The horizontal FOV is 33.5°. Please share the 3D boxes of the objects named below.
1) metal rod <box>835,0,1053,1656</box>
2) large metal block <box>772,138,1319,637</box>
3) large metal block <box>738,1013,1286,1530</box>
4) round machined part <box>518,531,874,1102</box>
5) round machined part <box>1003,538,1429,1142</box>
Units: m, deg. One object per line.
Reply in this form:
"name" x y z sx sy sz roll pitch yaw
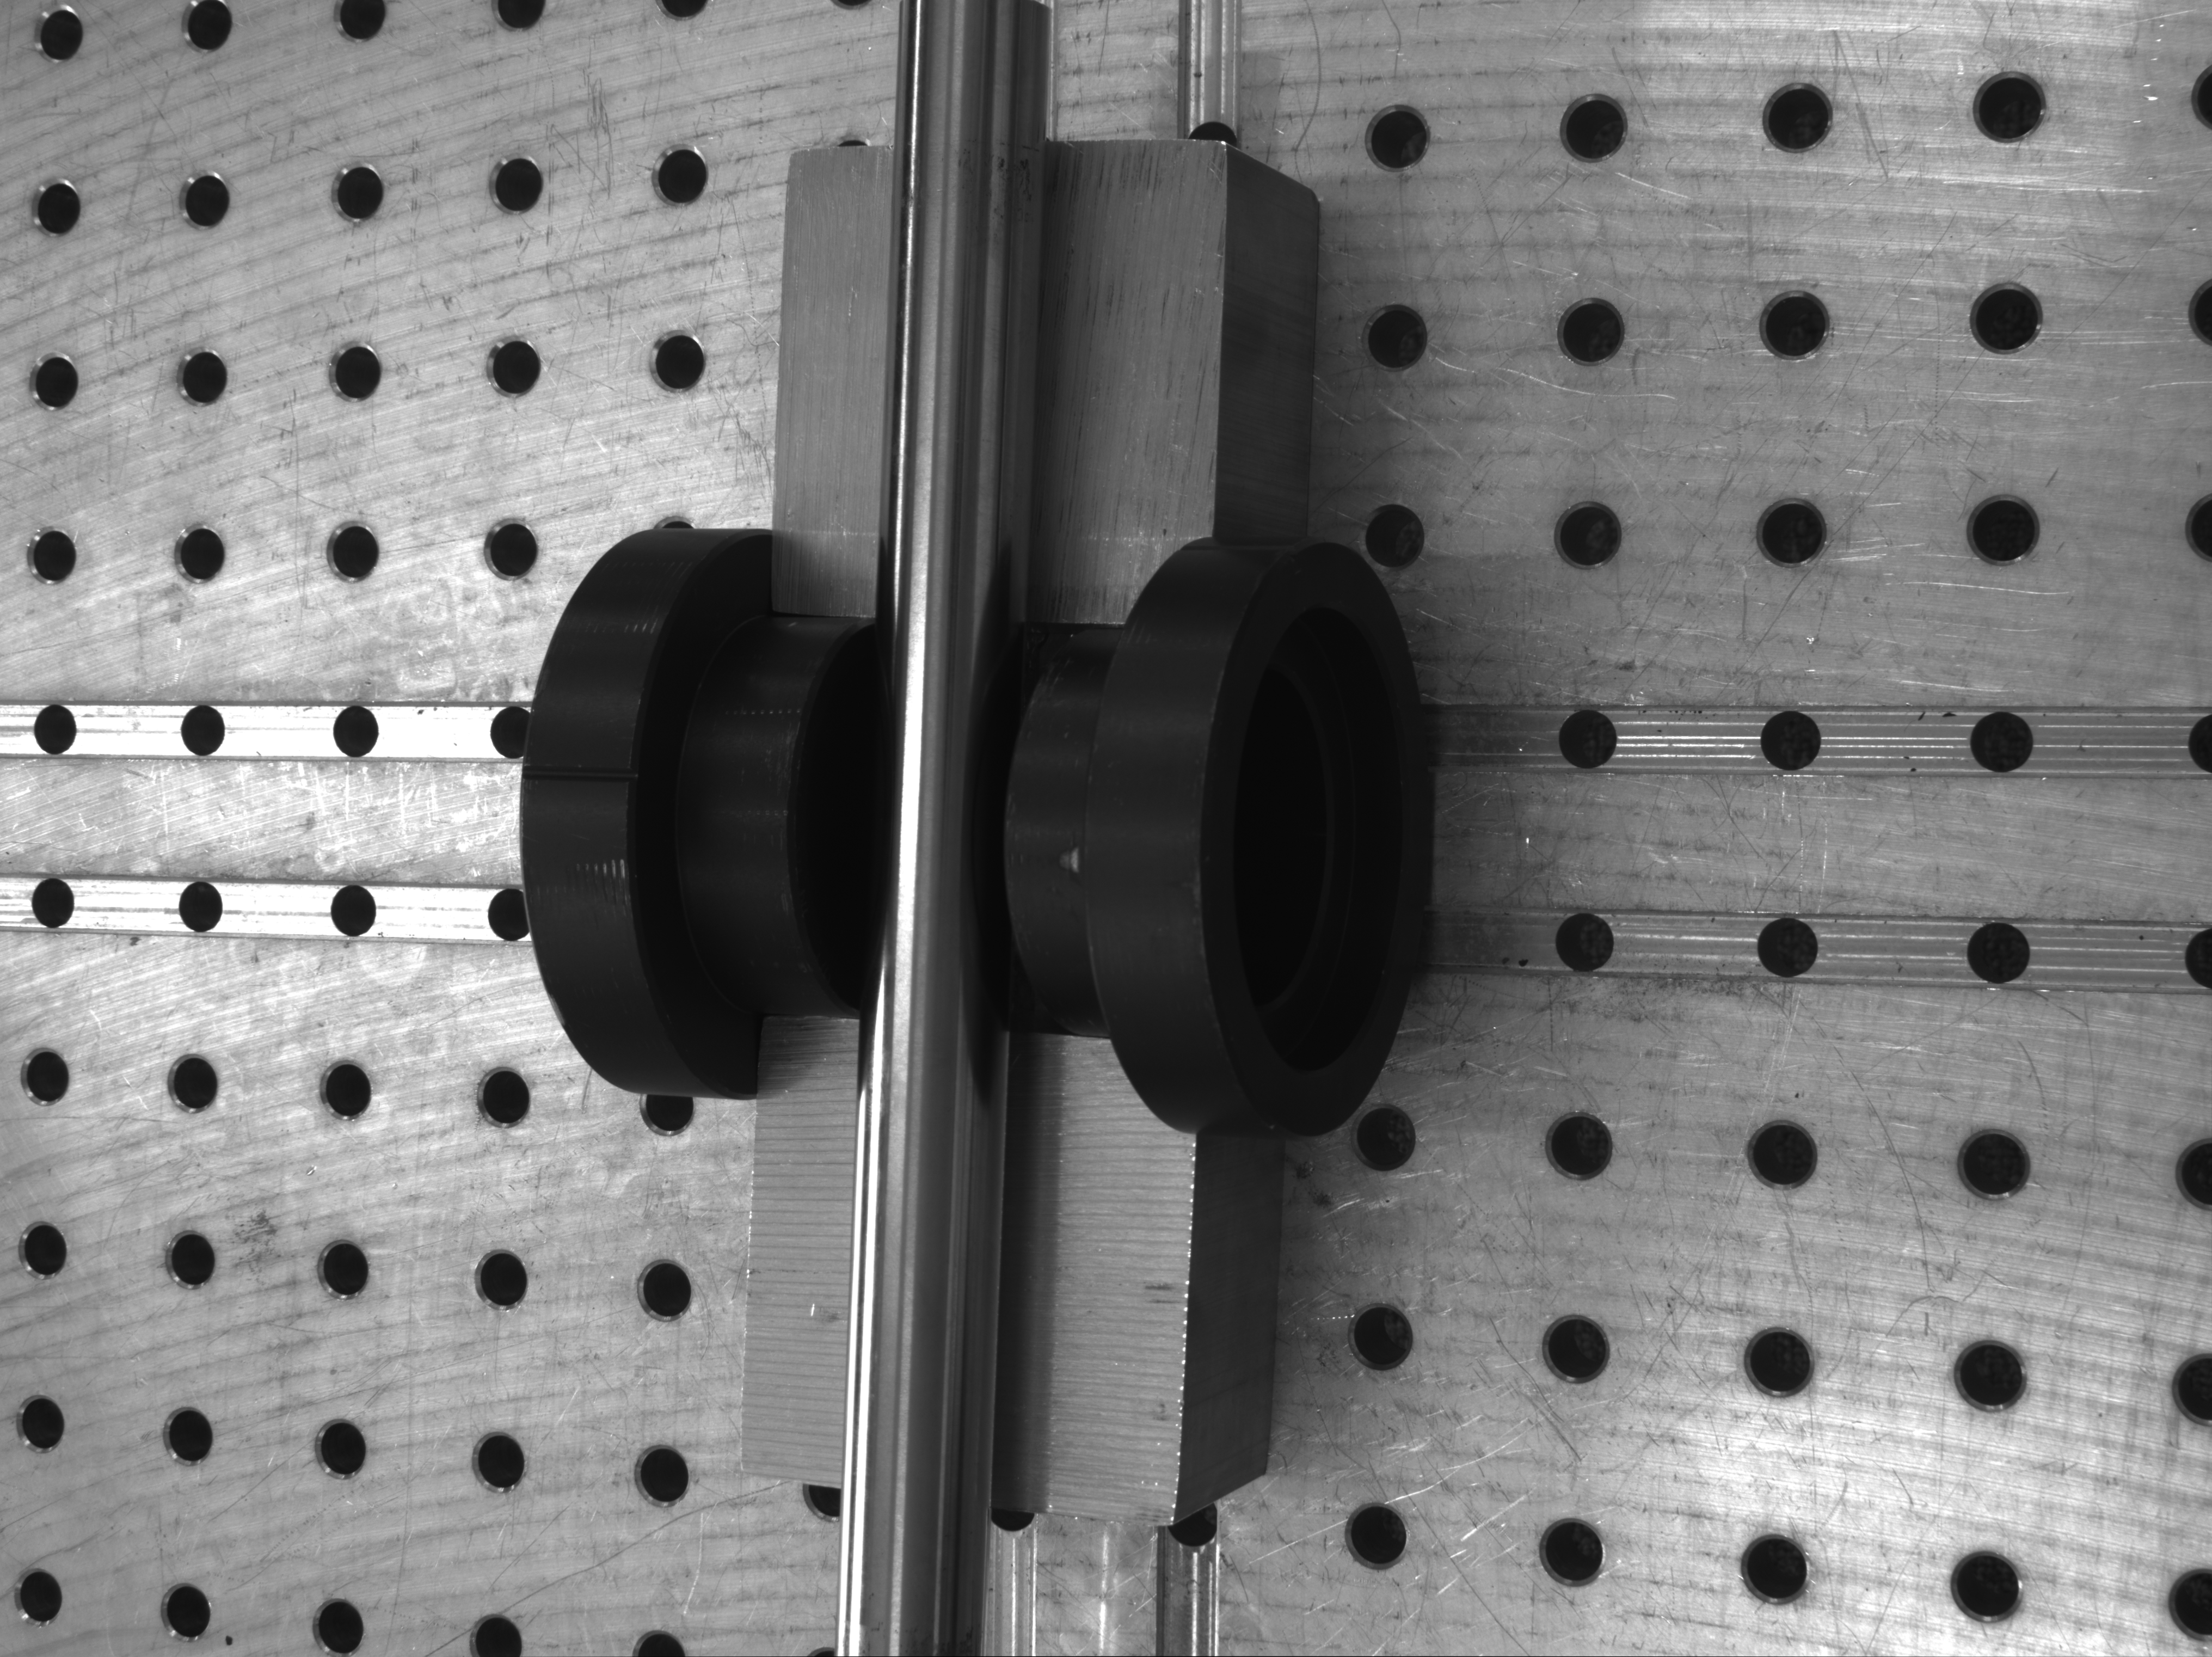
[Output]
"metal rod" -0.027 0.015 0.606 0.025 0.025 0.300 3 91 20
"large metal block" -0.010 -0.075 0.639 0.080 0.050 0.080 2 91 20
"large metal block" -0.015 0.074 0.641 0.080 0.050 0.080 3 91 20
"round machined part" -0.058 -0.002 0.631 0.042 0.098 0.098 2 91 20
"round machined part" 0.017 0.001 0.604 0.042 0.098 0.098 2 91 25
